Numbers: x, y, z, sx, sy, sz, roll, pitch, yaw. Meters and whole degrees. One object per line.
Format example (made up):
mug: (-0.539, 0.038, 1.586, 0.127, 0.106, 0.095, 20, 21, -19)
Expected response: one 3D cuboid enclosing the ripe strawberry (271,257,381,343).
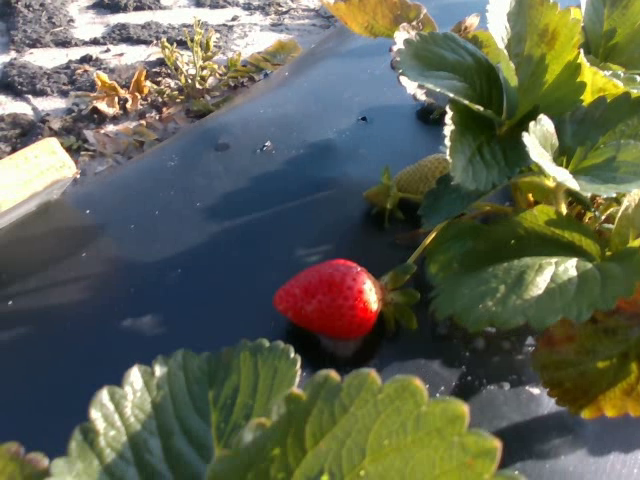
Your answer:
ripe strawberry: (0.000, 0.022, 0.213, 0.044, 0.033, 0.030, -2, 2, -9)
